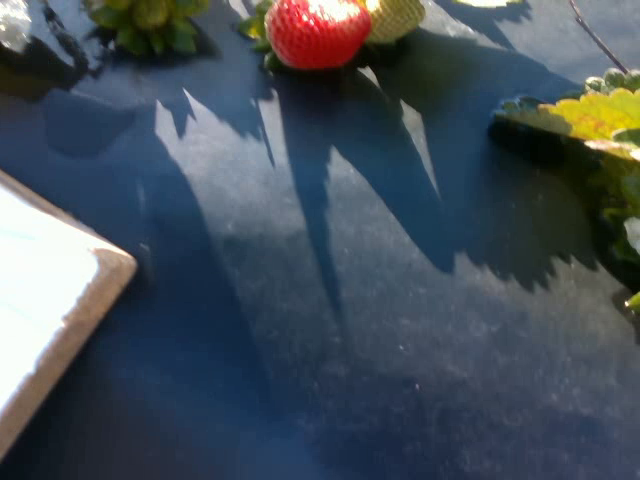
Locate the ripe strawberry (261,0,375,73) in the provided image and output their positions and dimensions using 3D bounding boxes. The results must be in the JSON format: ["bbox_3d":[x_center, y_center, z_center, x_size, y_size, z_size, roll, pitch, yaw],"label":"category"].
[{"bbox_3d":[0.002,-0.066,0.192,0.042,0.037,0.045,16,-2,-20],"label":"ripe strawberry"}]
